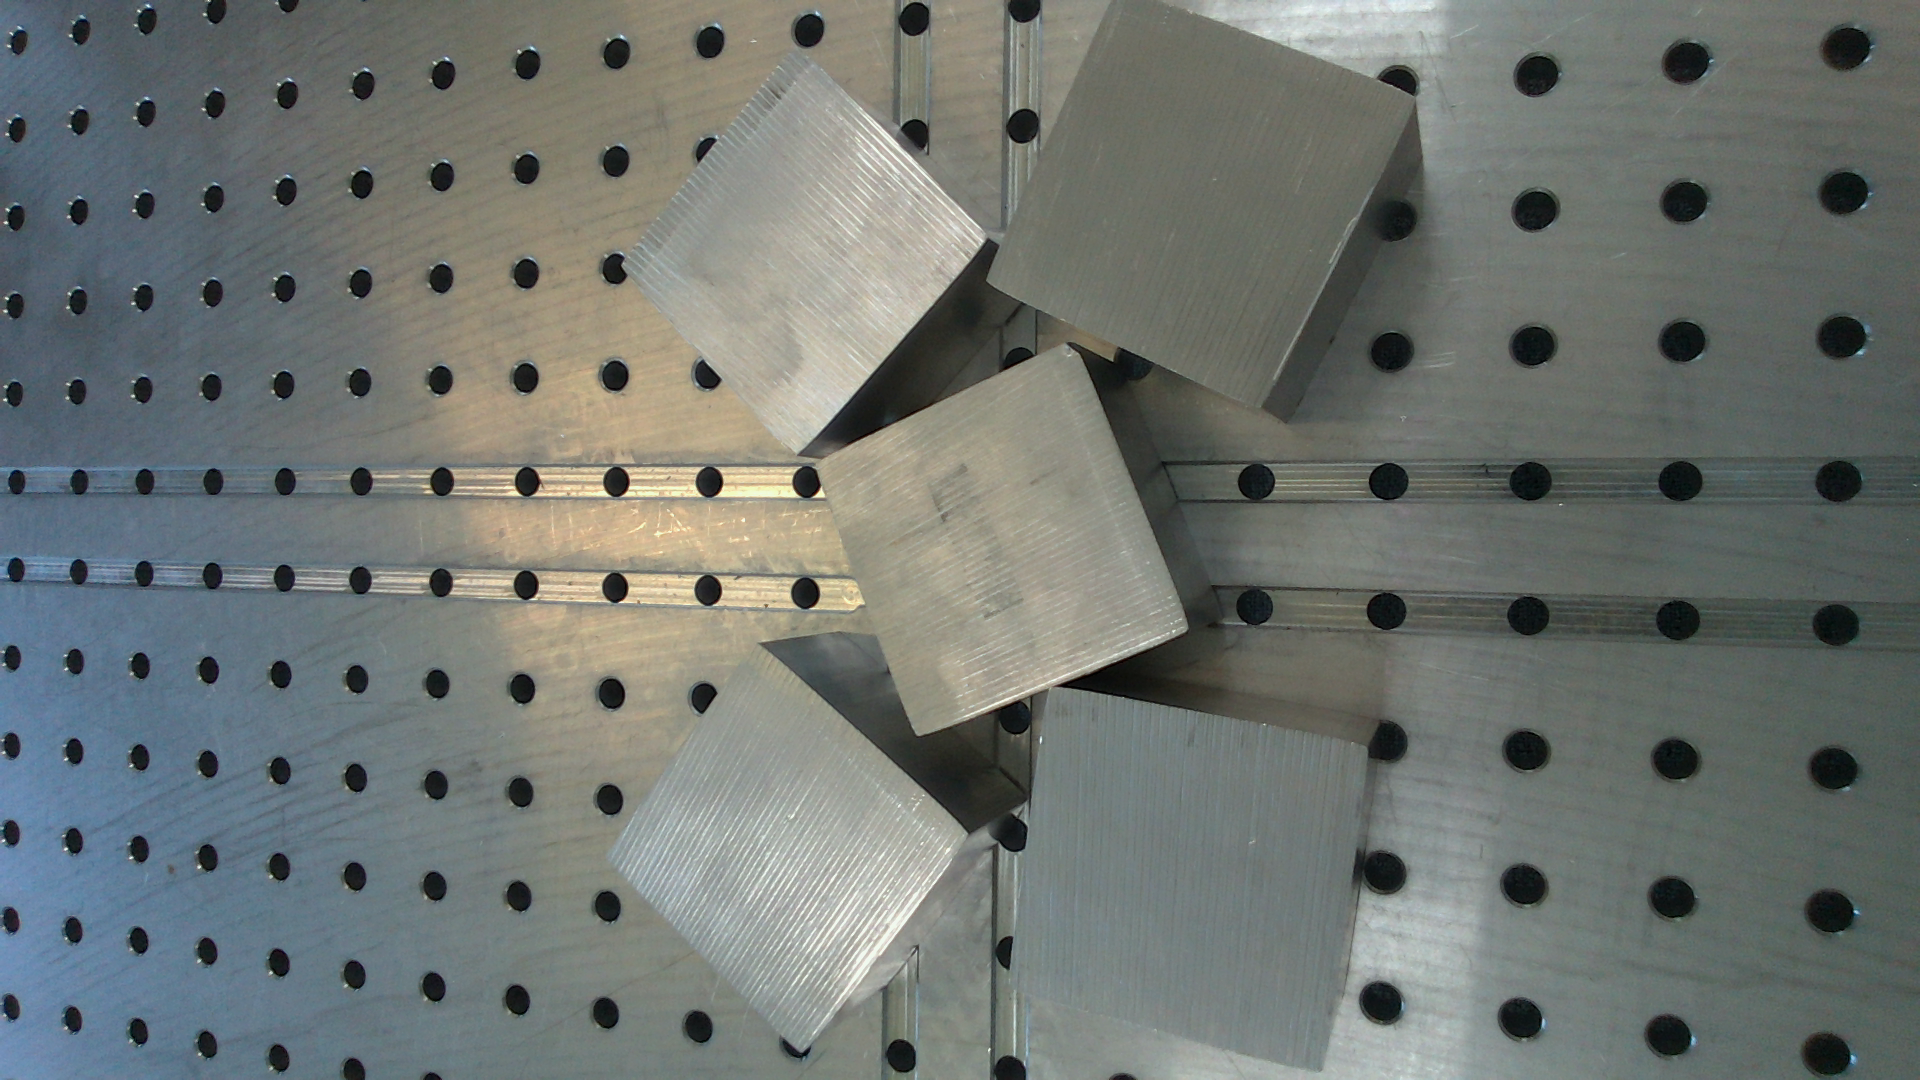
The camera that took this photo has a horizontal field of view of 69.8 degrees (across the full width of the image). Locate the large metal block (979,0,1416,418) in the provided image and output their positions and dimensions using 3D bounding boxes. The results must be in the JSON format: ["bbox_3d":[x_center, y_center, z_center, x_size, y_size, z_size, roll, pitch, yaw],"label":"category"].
[{"bbox_3d":[0.063,-0.085,0.361,0.080,0.050,0.080,27,99,15],"label":"large metal block"}]

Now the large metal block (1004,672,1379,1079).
[{"bbox_3d":[0.063,0.083,0.362,0.080,0.050,0.080,9,93,19],"label":"large metal block"}]

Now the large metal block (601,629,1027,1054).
[{"bbox_3d":[-0.042,0.083,0.399,0.080,0.050,0.080,39,102,16],"label":"large metal block"}]

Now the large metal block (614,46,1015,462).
[{"bbox_3d":[-0.038,-0.078,0.398,0.080,0.050,0.080,-46,75,15],"label":"large metal block"}]

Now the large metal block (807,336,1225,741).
[{"bbox_3d":[0.016,0.001,0.378,0.080,0.050,0.080,-24,82,18],"label":"large metal block"}]
